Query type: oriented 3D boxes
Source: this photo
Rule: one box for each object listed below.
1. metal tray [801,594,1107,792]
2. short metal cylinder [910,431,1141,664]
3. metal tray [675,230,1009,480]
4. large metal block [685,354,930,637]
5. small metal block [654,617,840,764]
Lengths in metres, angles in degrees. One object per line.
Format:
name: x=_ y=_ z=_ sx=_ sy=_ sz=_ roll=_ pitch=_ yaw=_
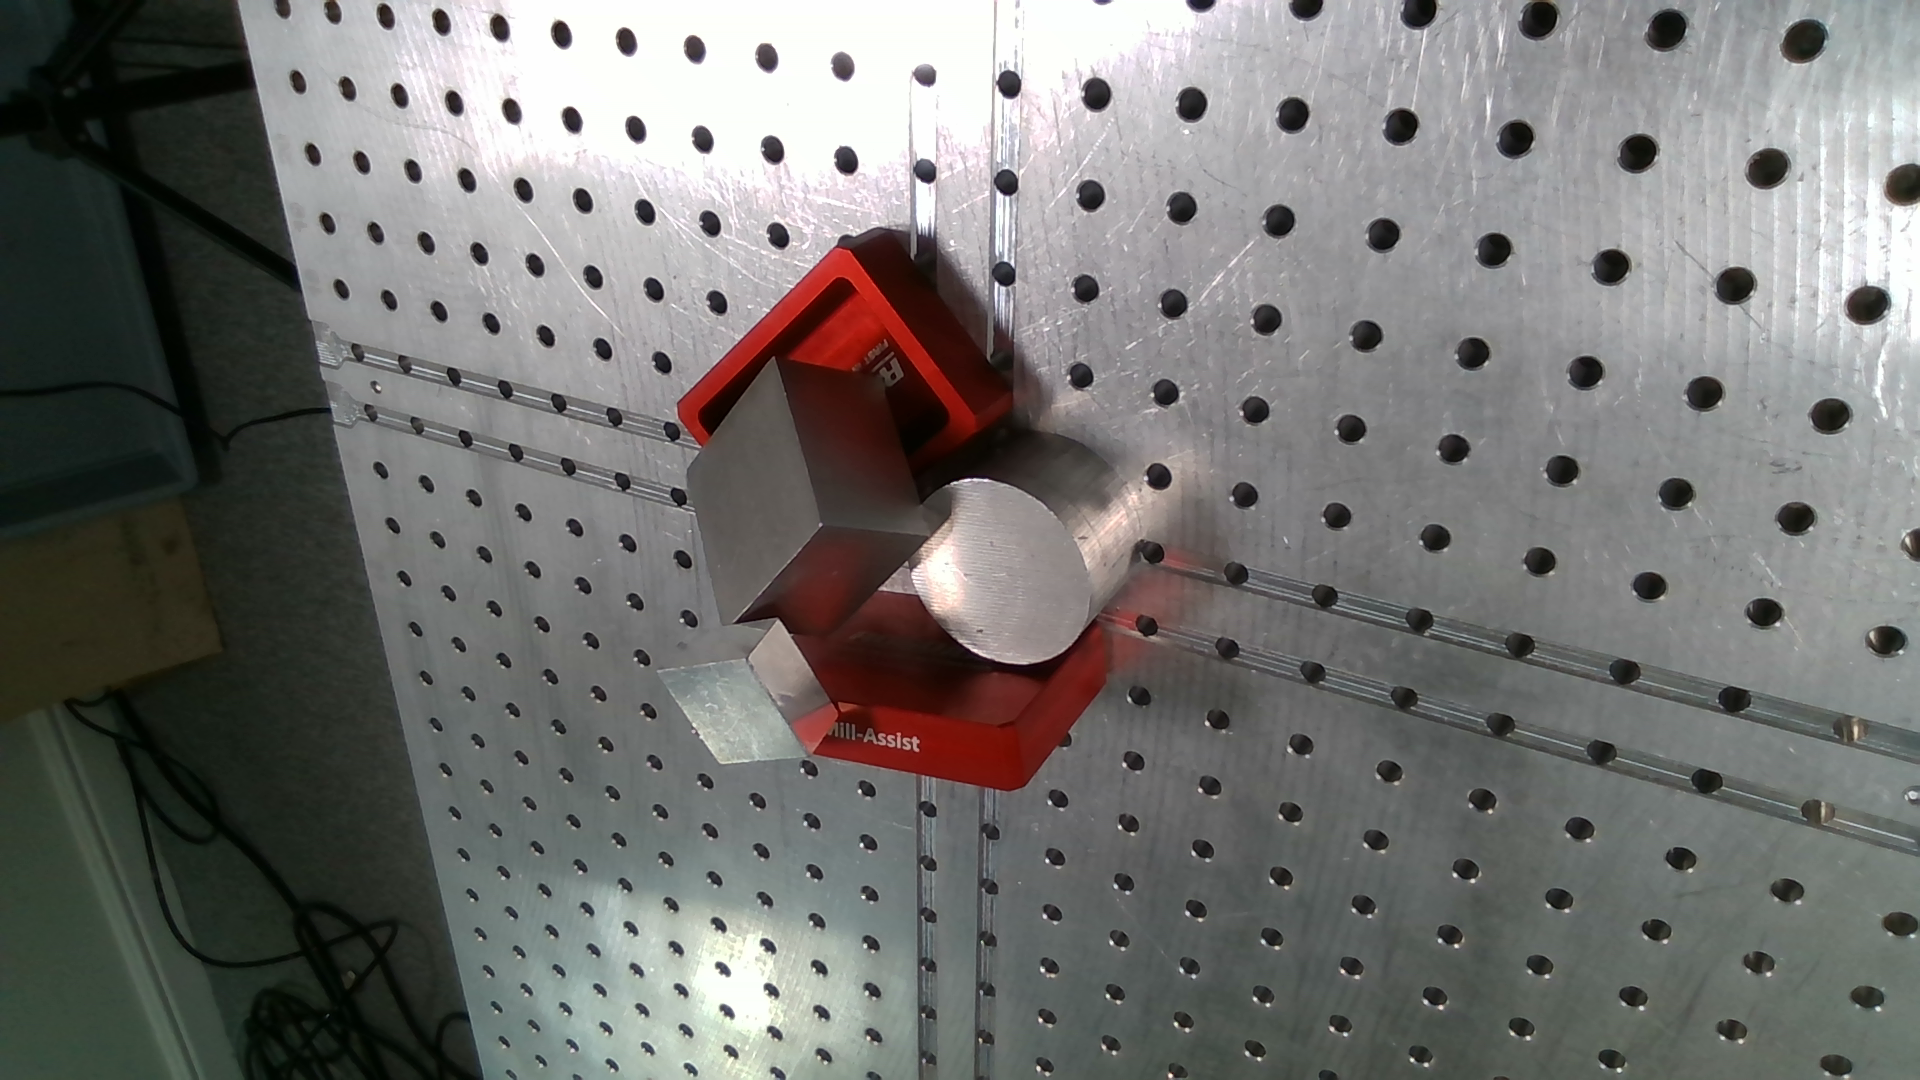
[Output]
metal tray: x=-0.015 y=0.059 z=0.582 sx=0.130 sy=0.090 sz=0.030 roll=5 pitch=118 yaw=29
short metal cylinder: x=0.026 y=0.003 z=0.552 sx=0.080 sy=0.050 sz=0.080 roll=14 pitch=122 yaw=25
metal tray: x=-0.053 y=-0.057 z=0.579 sx=0.130 sy=0.030 sz=0.090 roll=-34 pitch=95 yaw=39
large metal block: x=-0.064 y=-0.015 z=0.558 sx=0.080 sy=0.050 sz=0.080 roll=-44 pitch=53 yaw=40
small metal block: x=-0.084 y=0.061 z=0.546 sx=0.050 sy=0.025 sz=0.050 roll=-10 pitch=121 yaw=35
